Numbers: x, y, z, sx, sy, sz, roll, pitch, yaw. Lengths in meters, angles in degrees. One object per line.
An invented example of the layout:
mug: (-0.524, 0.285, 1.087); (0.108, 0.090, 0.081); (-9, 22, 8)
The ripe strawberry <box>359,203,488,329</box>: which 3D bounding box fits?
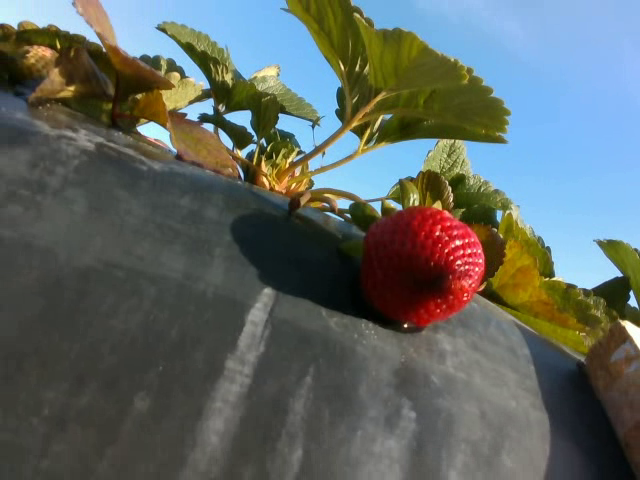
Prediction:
ripe strawberry: (0.029, 0.007, 0.166); (0.040, 0.037, 0.044); (22, 13, -25)
